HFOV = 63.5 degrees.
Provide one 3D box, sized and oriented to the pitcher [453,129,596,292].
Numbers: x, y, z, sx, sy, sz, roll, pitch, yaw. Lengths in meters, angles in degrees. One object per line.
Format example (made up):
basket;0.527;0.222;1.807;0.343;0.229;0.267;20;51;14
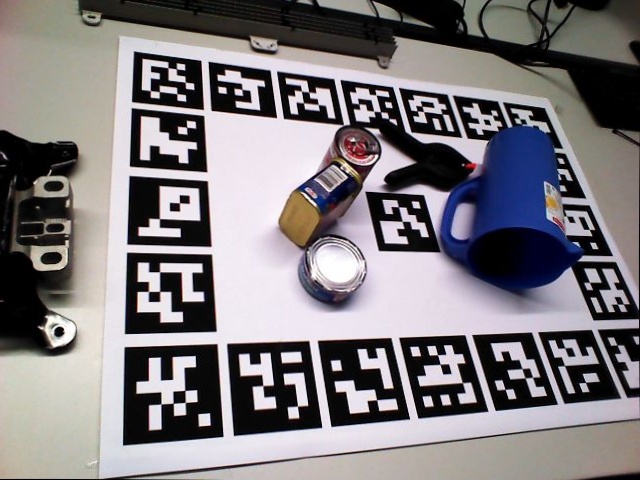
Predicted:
pitcher;0.297;-0.055;0.773;0.189;0.134;0.241;7;49;10

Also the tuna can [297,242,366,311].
tuna can;0.014;0.048;0.675;0.085;0.034;0.085;8;61;-15

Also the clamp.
clamp;0.157;-0.125;0.838;0.165;0.037;0.121;5;56;-21

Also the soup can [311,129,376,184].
soup can;0.029;-0.097;0.726;0.068;0.102;0.067;7;61;-13

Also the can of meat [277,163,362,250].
can of meat;-0.004;-0.041;0.676;0.083;0.102;0.058;-37;79;-29
